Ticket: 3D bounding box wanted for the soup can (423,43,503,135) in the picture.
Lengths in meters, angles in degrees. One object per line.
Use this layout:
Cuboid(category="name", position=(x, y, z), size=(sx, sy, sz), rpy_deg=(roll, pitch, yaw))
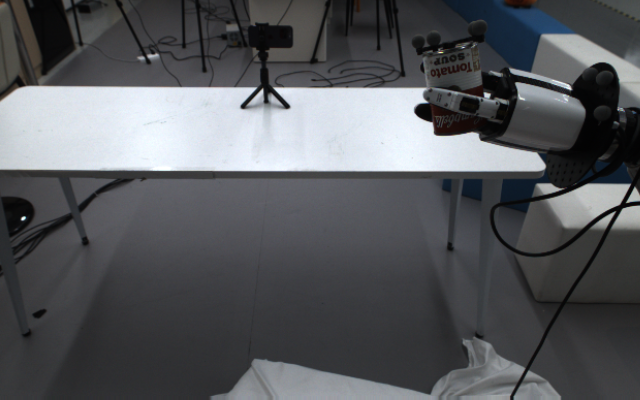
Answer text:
Cuboid(category="soup can", position=(0.170, -0.140, 0.609), size=(0.067, 0.101, 0.067), rpy_deg=(-12, 17, 4))
